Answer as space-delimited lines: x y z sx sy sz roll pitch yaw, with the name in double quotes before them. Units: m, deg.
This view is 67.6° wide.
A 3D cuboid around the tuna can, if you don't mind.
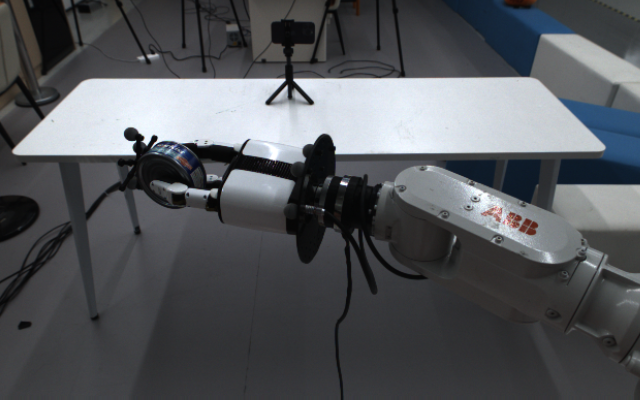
"tuna can" -0.192 -0.035 0.630 0.085 0.085 0.034 10 36 11
